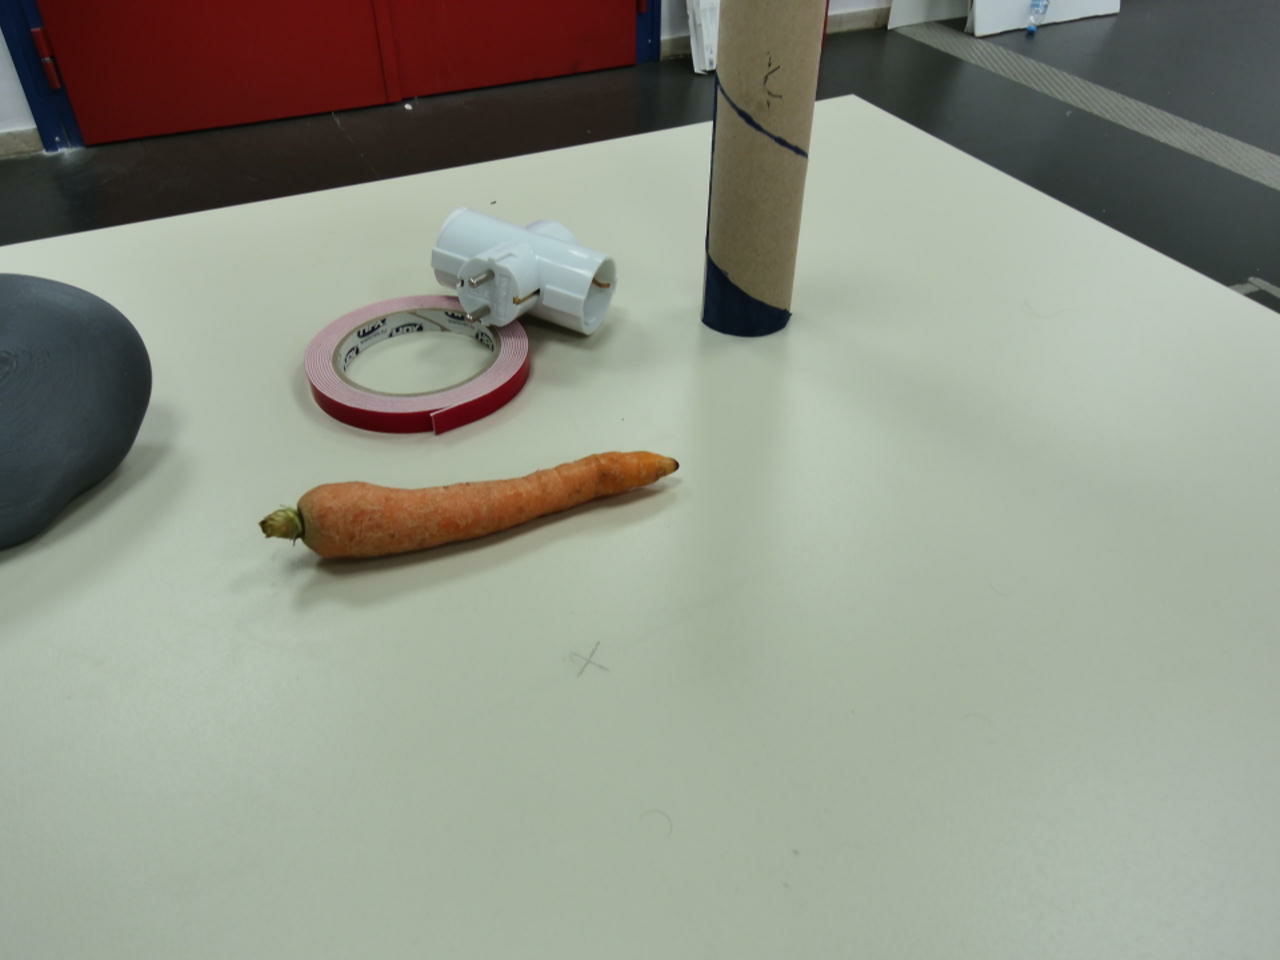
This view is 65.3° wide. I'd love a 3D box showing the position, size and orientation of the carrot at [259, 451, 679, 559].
[{"bbox_3d":[-0.064,0.006,0.409,0.173,0.032,0.030,-11,39,-14],"label":"carrot"}]
